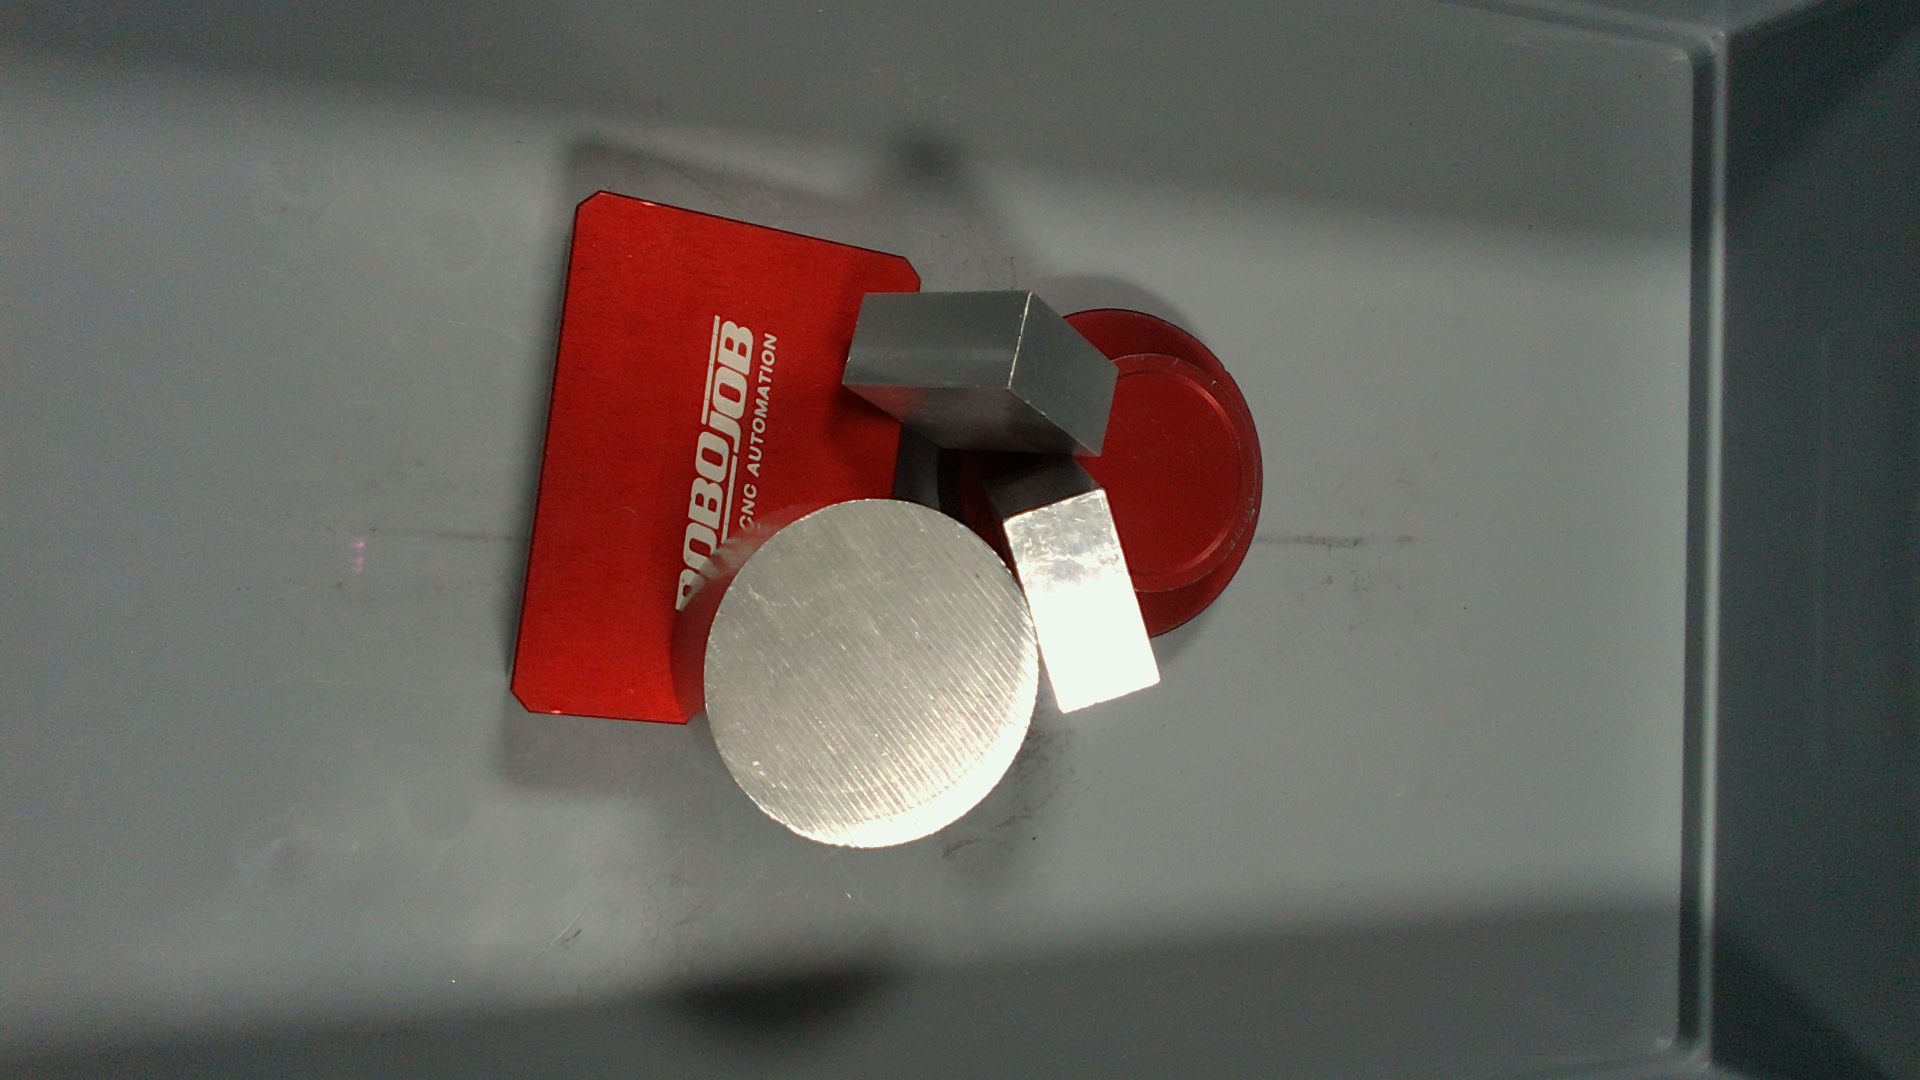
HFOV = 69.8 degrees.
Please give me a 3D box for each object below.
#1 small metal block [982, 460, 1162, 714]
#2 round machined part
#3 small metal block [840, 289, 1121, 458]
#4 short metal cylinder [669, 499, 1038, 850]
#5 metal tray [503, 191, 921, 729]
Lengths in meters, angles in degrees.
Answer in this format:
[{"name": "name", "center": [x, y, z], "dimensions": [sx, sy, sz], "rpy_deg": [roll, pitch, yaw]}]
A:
[{"name": "small metal block", "center": [0.027, 0.009, 0.347], "dimensions": [0.025, 0.050, 0.050], "rpy_deg": [-18, 103, 0]}, {"name": "round machined part", "center": [0.047, -0.019, 0.400], "dimensions": [0.098, 0.042, 0.098], "rpy_deg": [0, 90, -20]}, {"name": "small metal block", "center": [0.006, -0.042, 0.354], "dimensions": [0.050, 0.050, 0.025], "rpy_deg": [27, 72, -55]}, {"name": "short metal cylinder", "center": [-0.027, 0.031, 0.337], "dimensions": [0.080, 0.050, 0.080], "rpy_deg": [0, 90, -20]}, {"name": "metal tray", "center": [-0.065, -0.016, 0.364], "dimensions": [0.090, 0.030, 0.130], "rpy_deg": [8, 87, -20]}]
